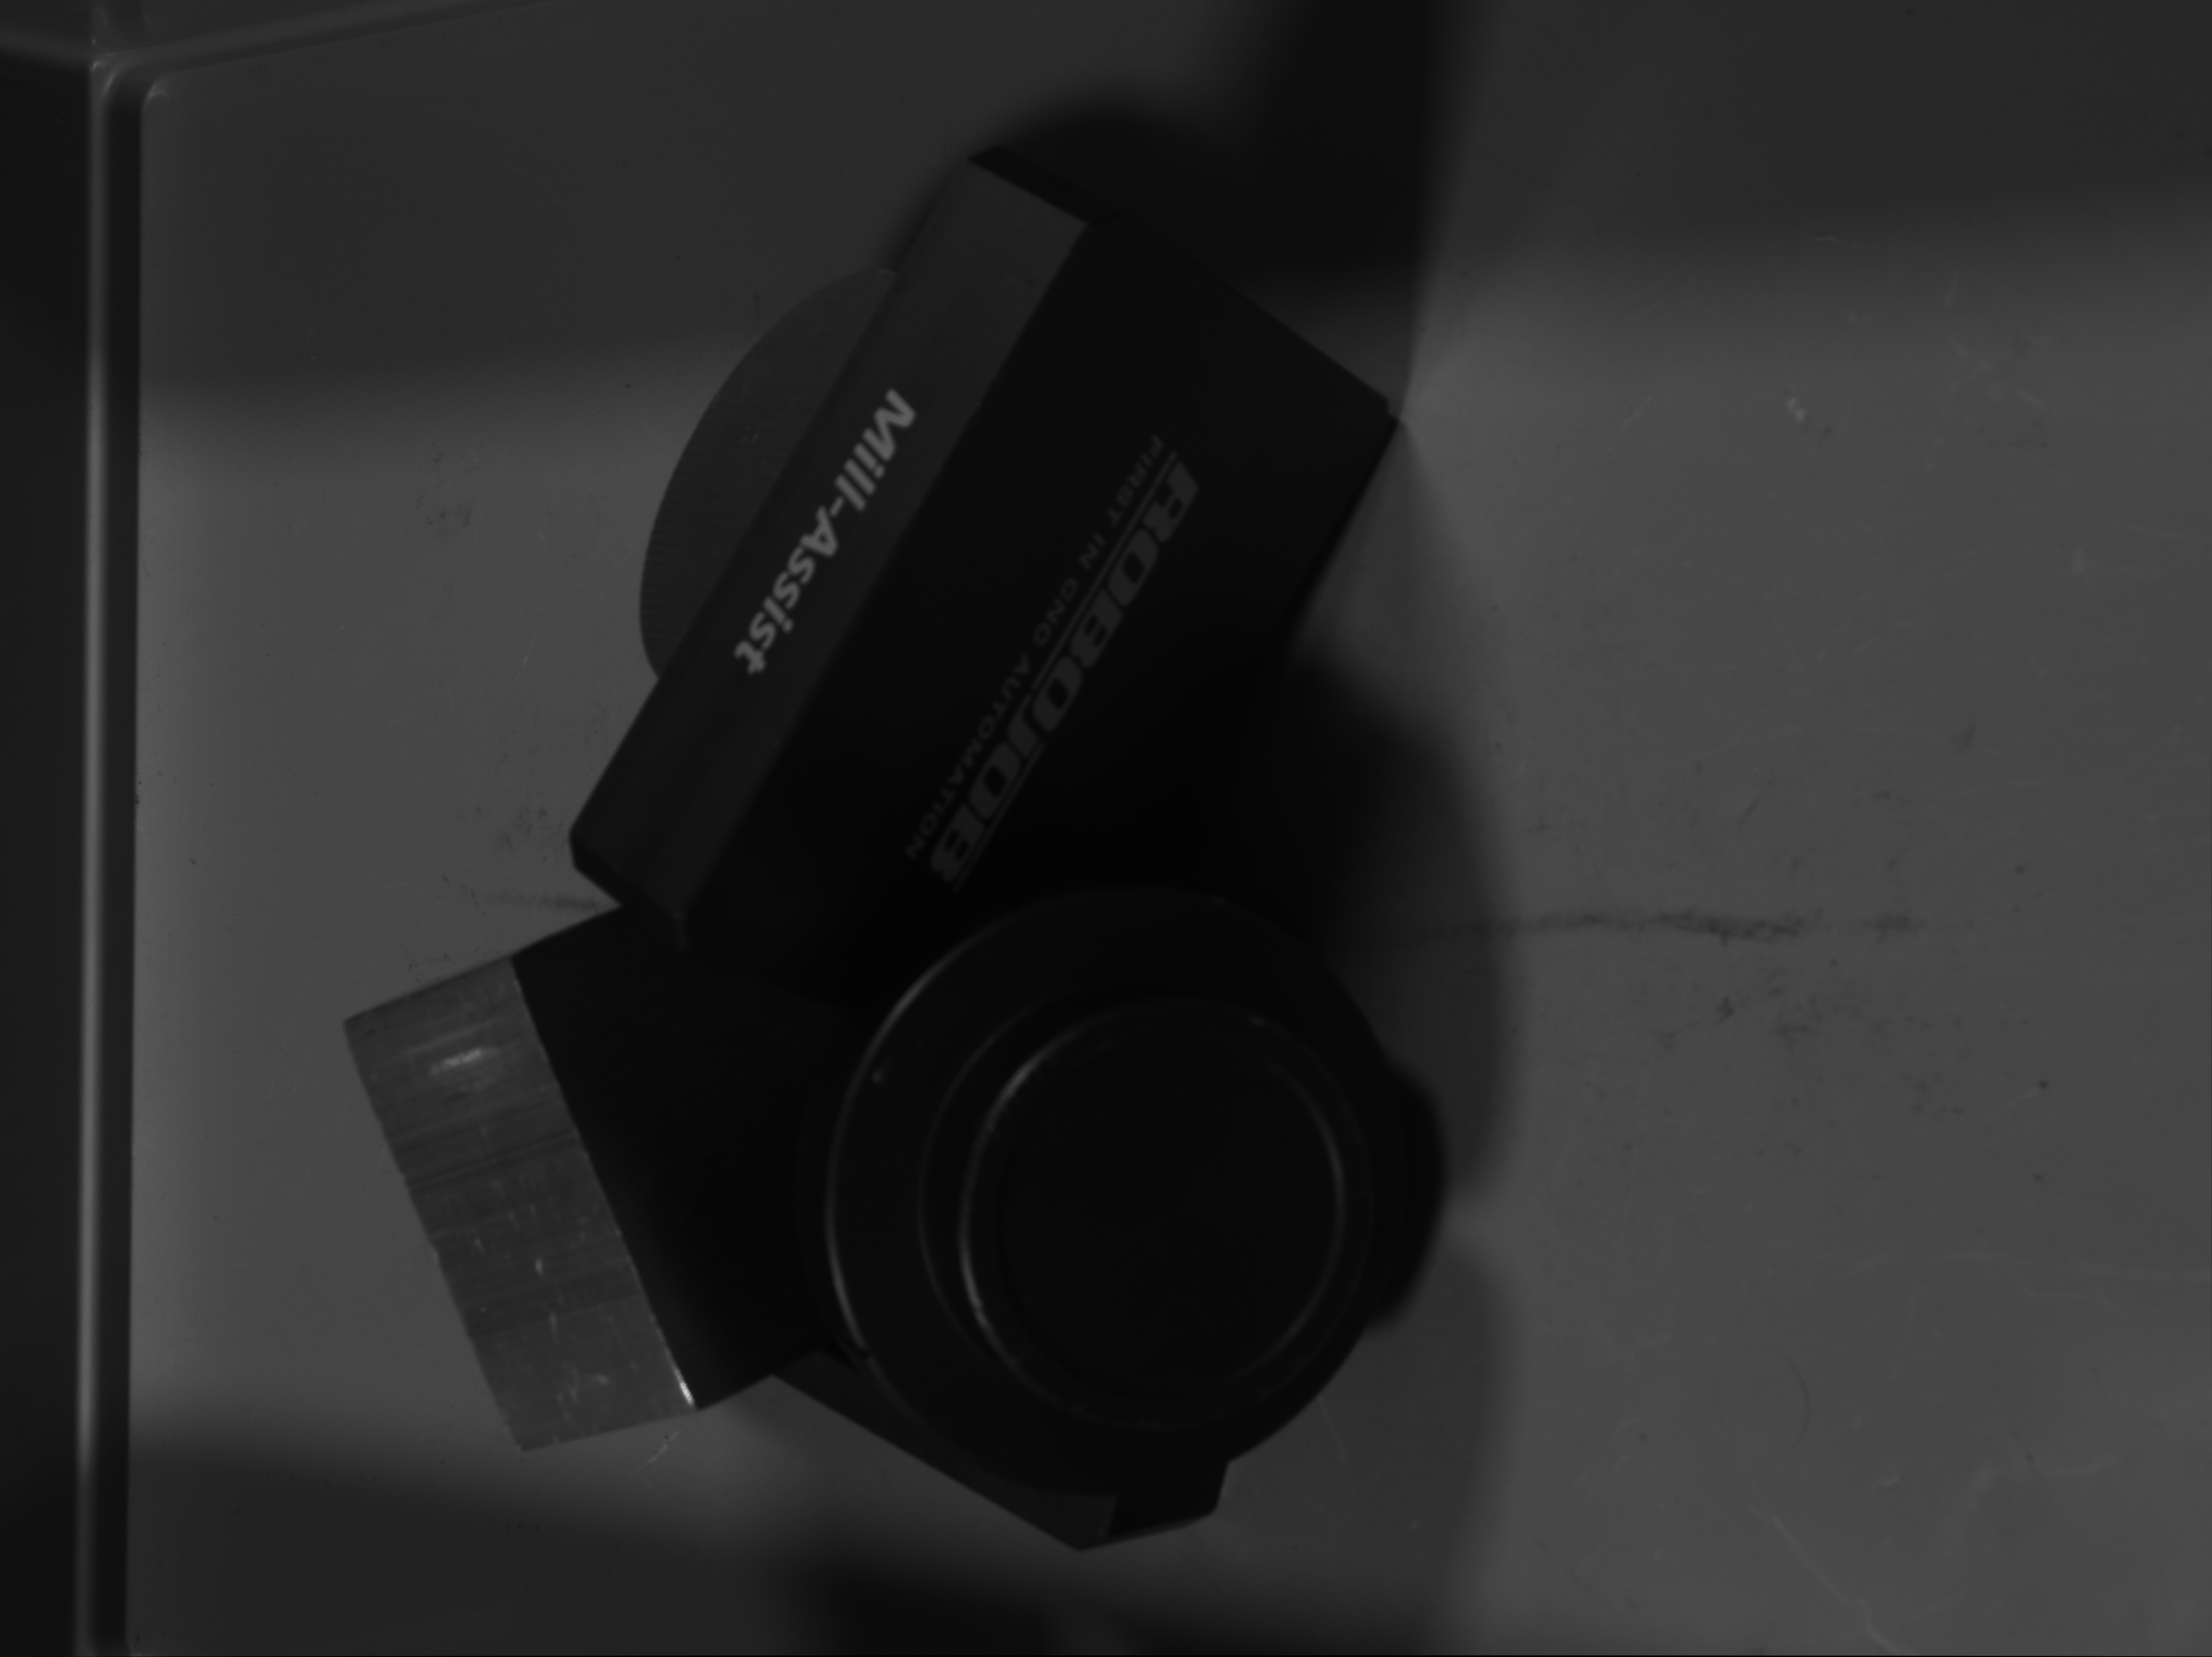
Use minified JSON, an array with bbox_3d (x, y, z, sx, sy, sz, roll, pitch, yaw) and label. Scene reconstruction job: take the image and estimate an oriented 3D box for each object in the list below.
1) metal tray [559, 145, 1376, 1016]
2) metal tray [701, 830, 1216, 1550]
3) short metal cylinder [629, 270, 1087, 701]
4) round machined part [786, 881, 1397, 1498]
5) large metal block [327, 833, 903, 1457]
[{"bbox_3d":[-0.020,-0.032,0.589,0.030,0.090,0.130,34,95,38],"label":"metal tray"},{"bbox_3d":[-0.031,0.061,0.656,0.130,0.030,0.090,22,104,38],"label":"metal tray"},{"bbox_3d":[-0.037,-0.049,0.630,0.080,0.050,0.080,-30,46,37],"label":"short metal cylinder"},{"bbox_3d":[0.002,0.058,0.581,0.042,0.098,0.098,-166,80,-69],"label":"round machined part"},{"bbox_3d":[-0.074,0.052,0.630,0.050,0.080,0.080,-20,93,44],"label":"large metal block"}]
